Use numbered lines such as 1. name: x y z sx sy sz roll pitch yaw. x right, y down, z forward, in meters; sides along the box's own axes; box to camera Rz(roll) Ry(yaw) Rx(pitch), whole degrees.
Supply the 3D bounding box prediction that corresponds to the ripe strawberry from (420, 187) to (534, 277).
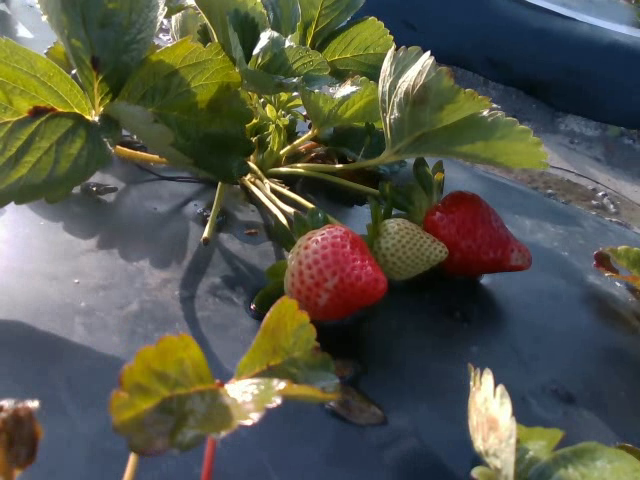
1. ripe strawberry: 0.081 0.000 0.315 0.064 0.049 0.050 38 -12 22
